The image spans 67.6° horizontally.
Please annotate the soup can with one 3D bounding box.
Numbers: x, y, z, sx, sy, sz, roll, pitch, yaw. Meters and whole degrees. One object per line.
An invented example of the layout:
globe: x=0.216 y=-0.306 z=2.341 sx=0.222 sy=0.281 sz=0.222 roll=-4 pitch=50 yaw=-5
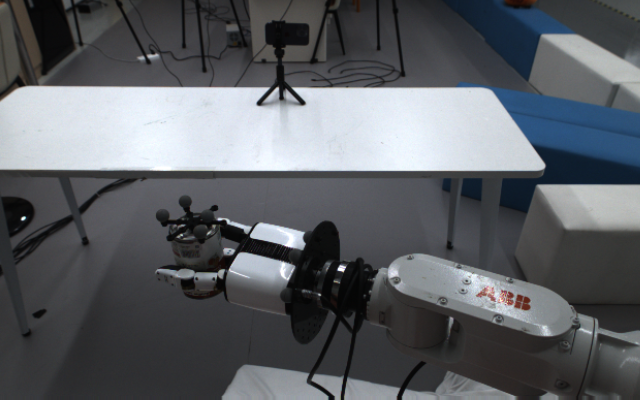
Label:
soup can: x=-0.165 y=0.079 z=0.668 sx=0.067 sy=0.101 sz=0.067 roll=-1 pitch=32 yaw=1
